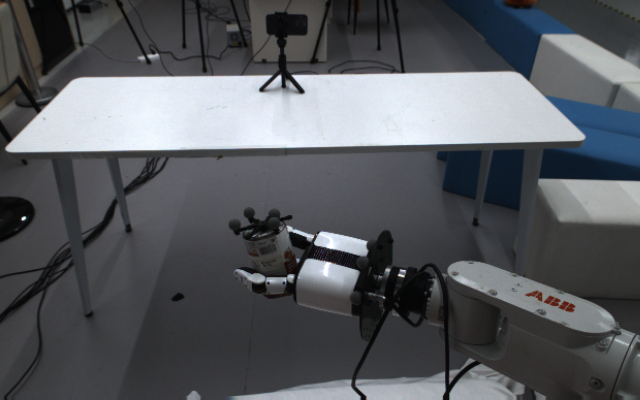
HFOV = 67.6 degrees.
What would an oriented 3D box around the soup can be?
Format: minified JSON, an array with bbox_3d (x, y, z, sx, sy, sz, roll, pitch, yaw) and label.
[{"bbox_3d":[-0.069,0.087,0.724,0.067,0.101,0.067,-13,20,5],"label":"soup can"}]
